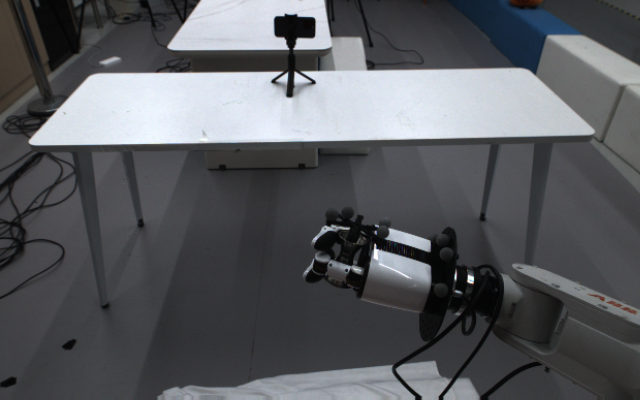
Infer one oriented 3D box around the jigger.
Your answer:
[{"bbox_3d":[0.038,0.081,0.668,0.043,0.071,0.043,15,17,-5],"label":"jigger"}]
